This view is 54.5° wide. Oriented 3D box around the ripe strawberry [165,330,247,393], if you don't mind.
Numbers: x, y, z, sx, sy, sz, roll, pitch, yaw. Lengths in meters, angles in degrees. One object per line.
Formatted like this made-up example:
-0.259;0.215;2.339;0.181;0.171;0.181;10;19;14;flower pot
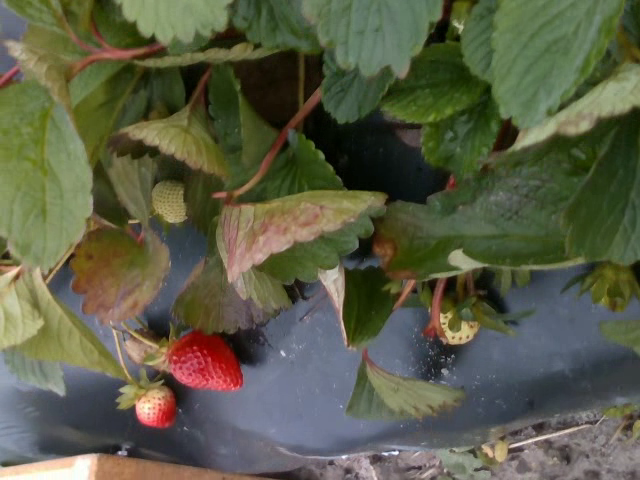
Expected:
-0.072;0.079;0.375;0.059;0.042;0.044;25;-18;3;ripe strawberry

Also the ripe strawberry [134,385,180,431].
-0.116;0.120;0.428;0.036;0.028;0.041;-9;-46;38;ripe strawberry
